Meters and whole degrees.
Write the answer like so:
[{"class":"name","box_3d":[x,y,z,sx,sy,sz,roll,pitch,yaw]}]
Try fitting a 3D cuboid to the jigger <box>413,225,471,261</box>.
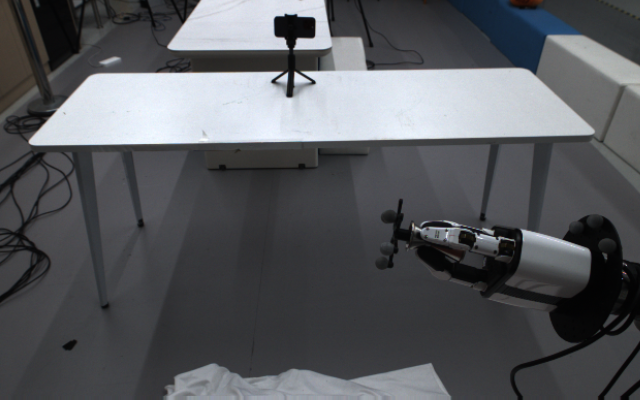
[{"class":"jigger","box_3d":[0.152,0.047,0.607,0.071,0.043,0.043,11,35,3]}]
